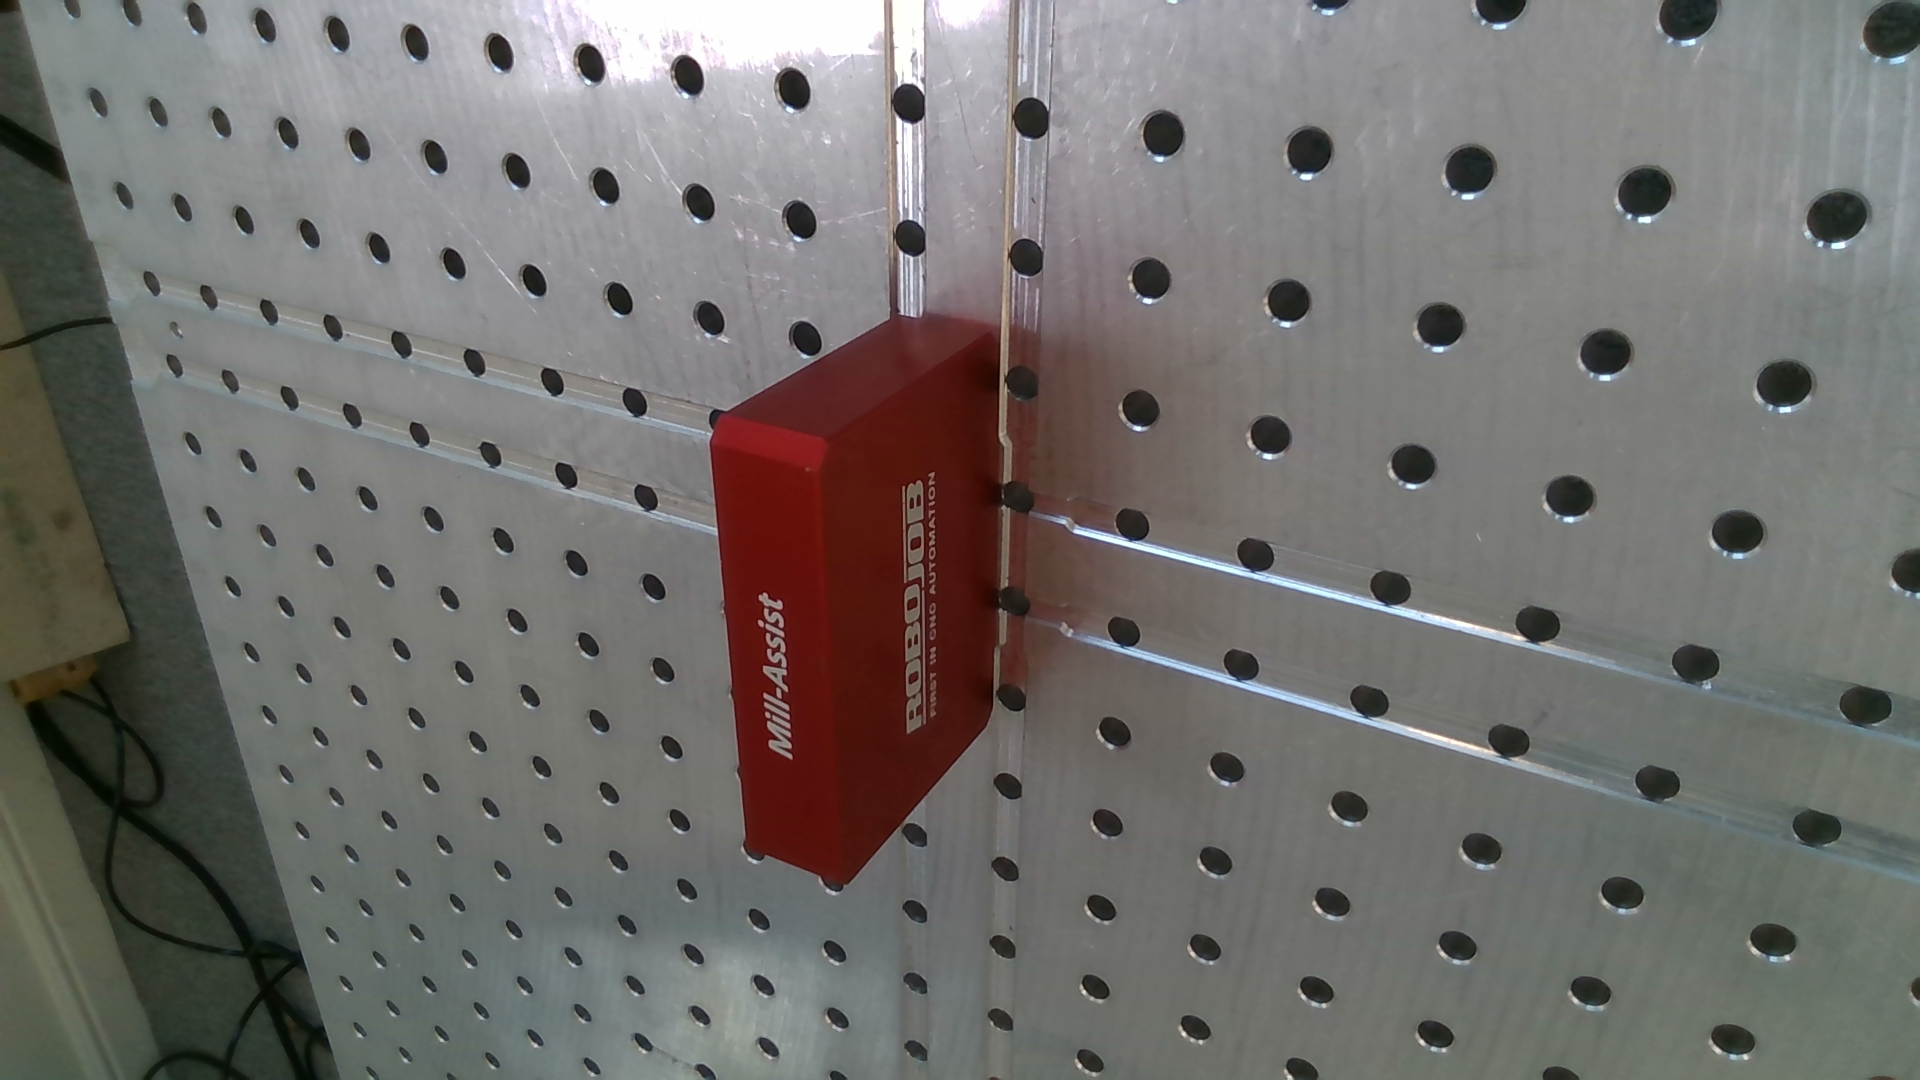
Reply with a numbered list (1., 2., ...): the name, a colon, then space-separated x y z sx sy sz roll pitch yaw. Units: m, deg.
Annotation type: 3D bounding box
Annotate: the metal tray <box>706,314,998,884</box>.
1. metal tray: -0.024 0.015 0.372 0.030 0.090 0.130 15 122 25
